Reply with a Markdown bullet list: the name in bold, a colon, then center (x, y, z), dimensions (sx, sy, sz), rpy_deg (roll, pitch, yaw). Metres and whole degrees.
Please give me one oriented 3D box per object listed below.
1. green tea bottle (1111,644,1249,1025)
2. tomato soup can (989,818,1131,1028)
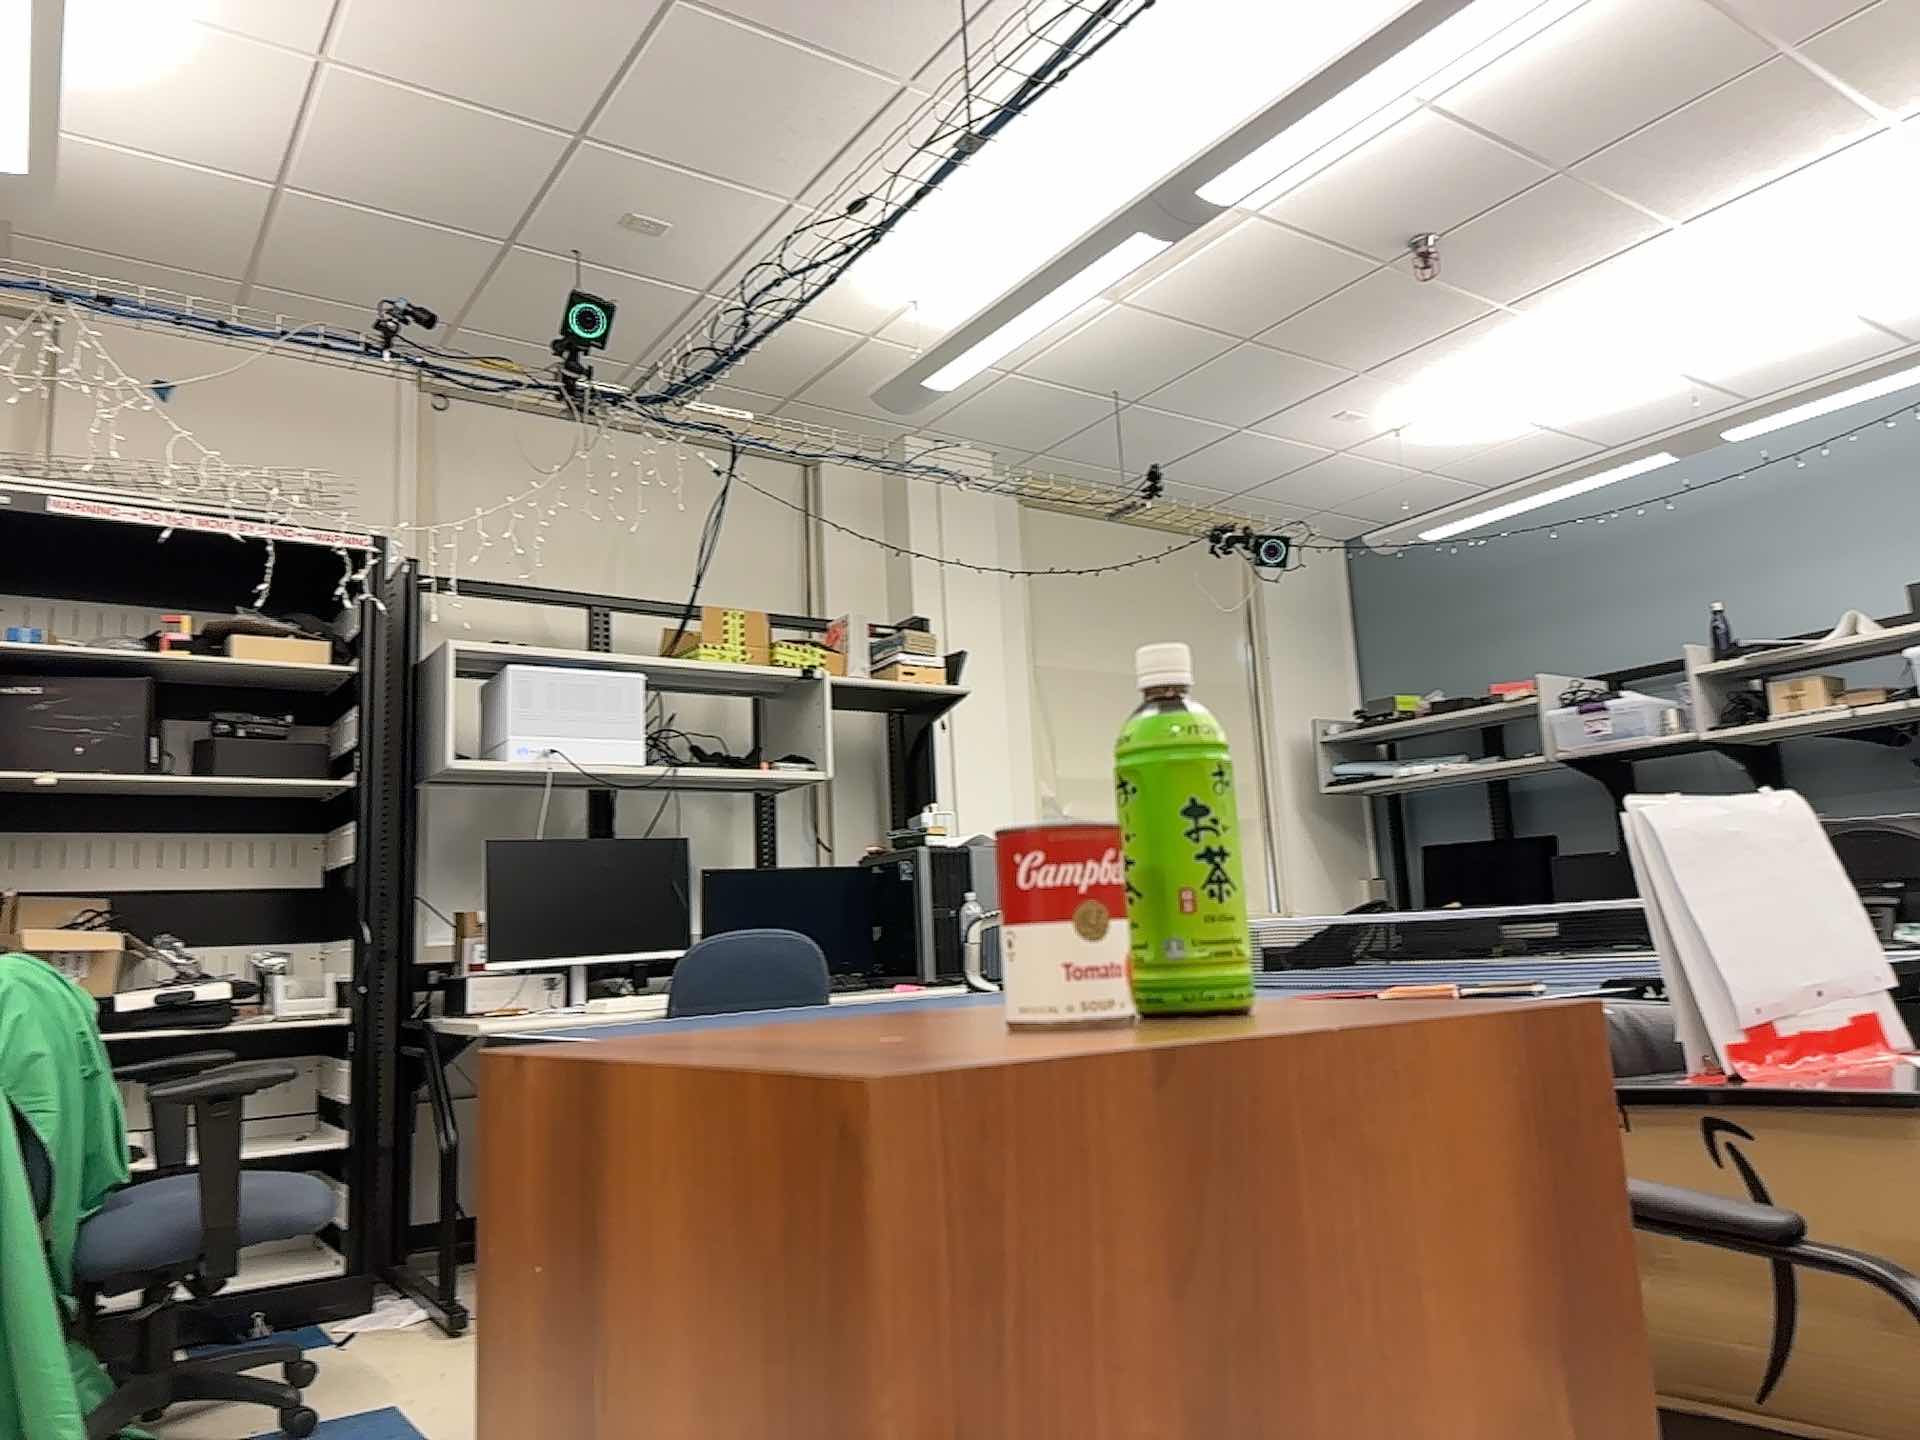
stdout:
- **green tea bottle**: center (0.121, 0.063, 0.761), dimensions (0.073, 0.212, 0.073), rpy_deg (-4, -8, -1)
- **tomato soup can**: center (0.050, 0.104, 0.687), dimensions (0.067, 0.102, 0.067), rpy_deg (-2, -9, 0)
